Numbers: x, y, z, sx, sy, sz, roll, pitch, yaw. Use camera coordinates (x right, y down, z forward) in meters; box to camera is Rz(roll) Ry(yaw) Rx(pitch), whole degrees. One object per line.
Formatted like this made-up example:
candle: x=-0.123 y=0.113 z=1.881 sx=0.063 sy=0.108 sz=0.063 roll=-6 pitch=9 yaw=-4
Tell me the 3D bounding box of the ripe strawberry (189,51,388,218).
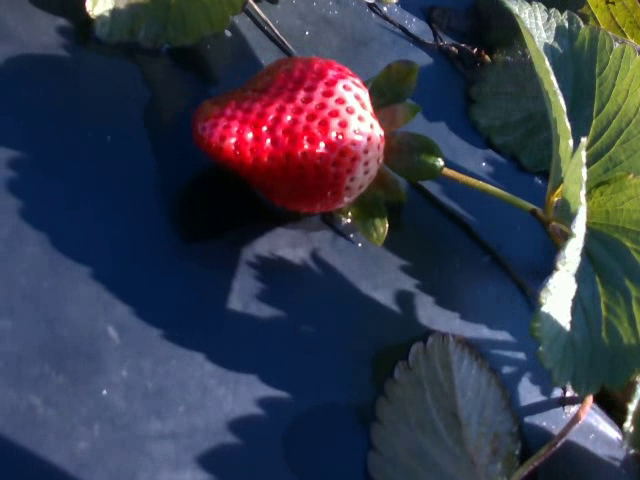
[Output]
ripe strawberry: x=-0.008 y=-0.023 z=0.138 sx=0.055 sy=0.042 sz=0.044 roll=-7 pitch=11 yaw=-39
